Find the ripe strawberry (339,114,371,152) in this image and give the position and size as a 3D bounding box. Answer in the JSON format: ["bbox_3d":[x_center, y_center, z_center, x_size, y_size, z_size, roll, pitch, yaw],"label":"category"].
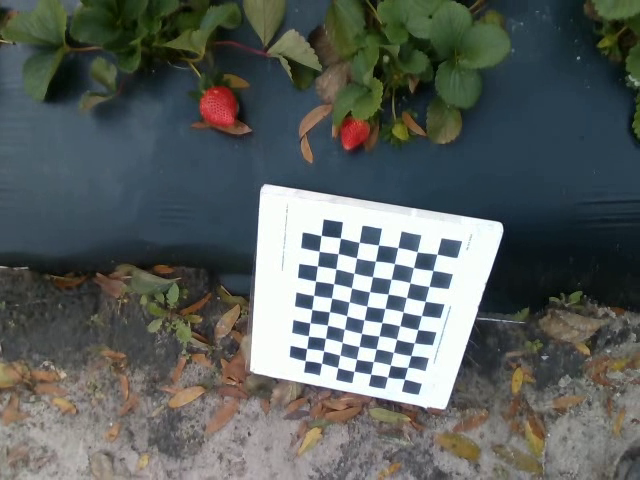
[{"bbox_3d":[0.038,-0.117,0.739,0.040,0.042,0.037,18,-15,-2],"label":"ripe strawberry"}]

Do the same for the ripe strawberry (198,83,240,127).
[{"bbox_3d":[-0.113,-0.147,0.747,0.042,0.047,0.065,-11,42,-29],"label":"ripe strawberry"}]
